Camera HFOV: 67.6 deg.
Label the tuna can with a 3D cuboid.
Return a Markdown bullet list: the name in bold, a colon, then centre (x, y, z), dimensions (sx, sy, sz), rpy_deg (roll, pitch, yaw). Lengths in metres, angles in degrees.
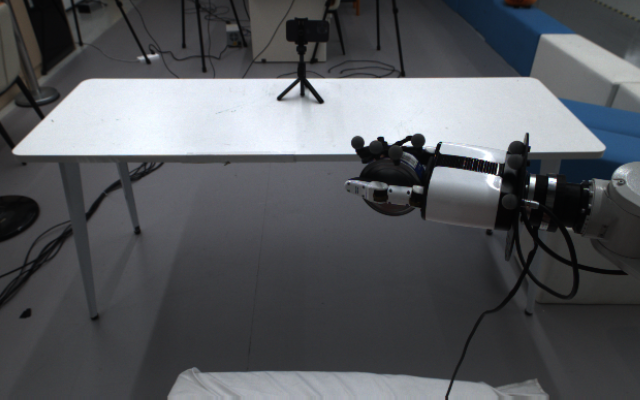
- **tuna can**: centre (0.099, -0.024, 0.644), dimensions (0.085, 0.085, 0.034), rpy_deg (15, 34, 17)
